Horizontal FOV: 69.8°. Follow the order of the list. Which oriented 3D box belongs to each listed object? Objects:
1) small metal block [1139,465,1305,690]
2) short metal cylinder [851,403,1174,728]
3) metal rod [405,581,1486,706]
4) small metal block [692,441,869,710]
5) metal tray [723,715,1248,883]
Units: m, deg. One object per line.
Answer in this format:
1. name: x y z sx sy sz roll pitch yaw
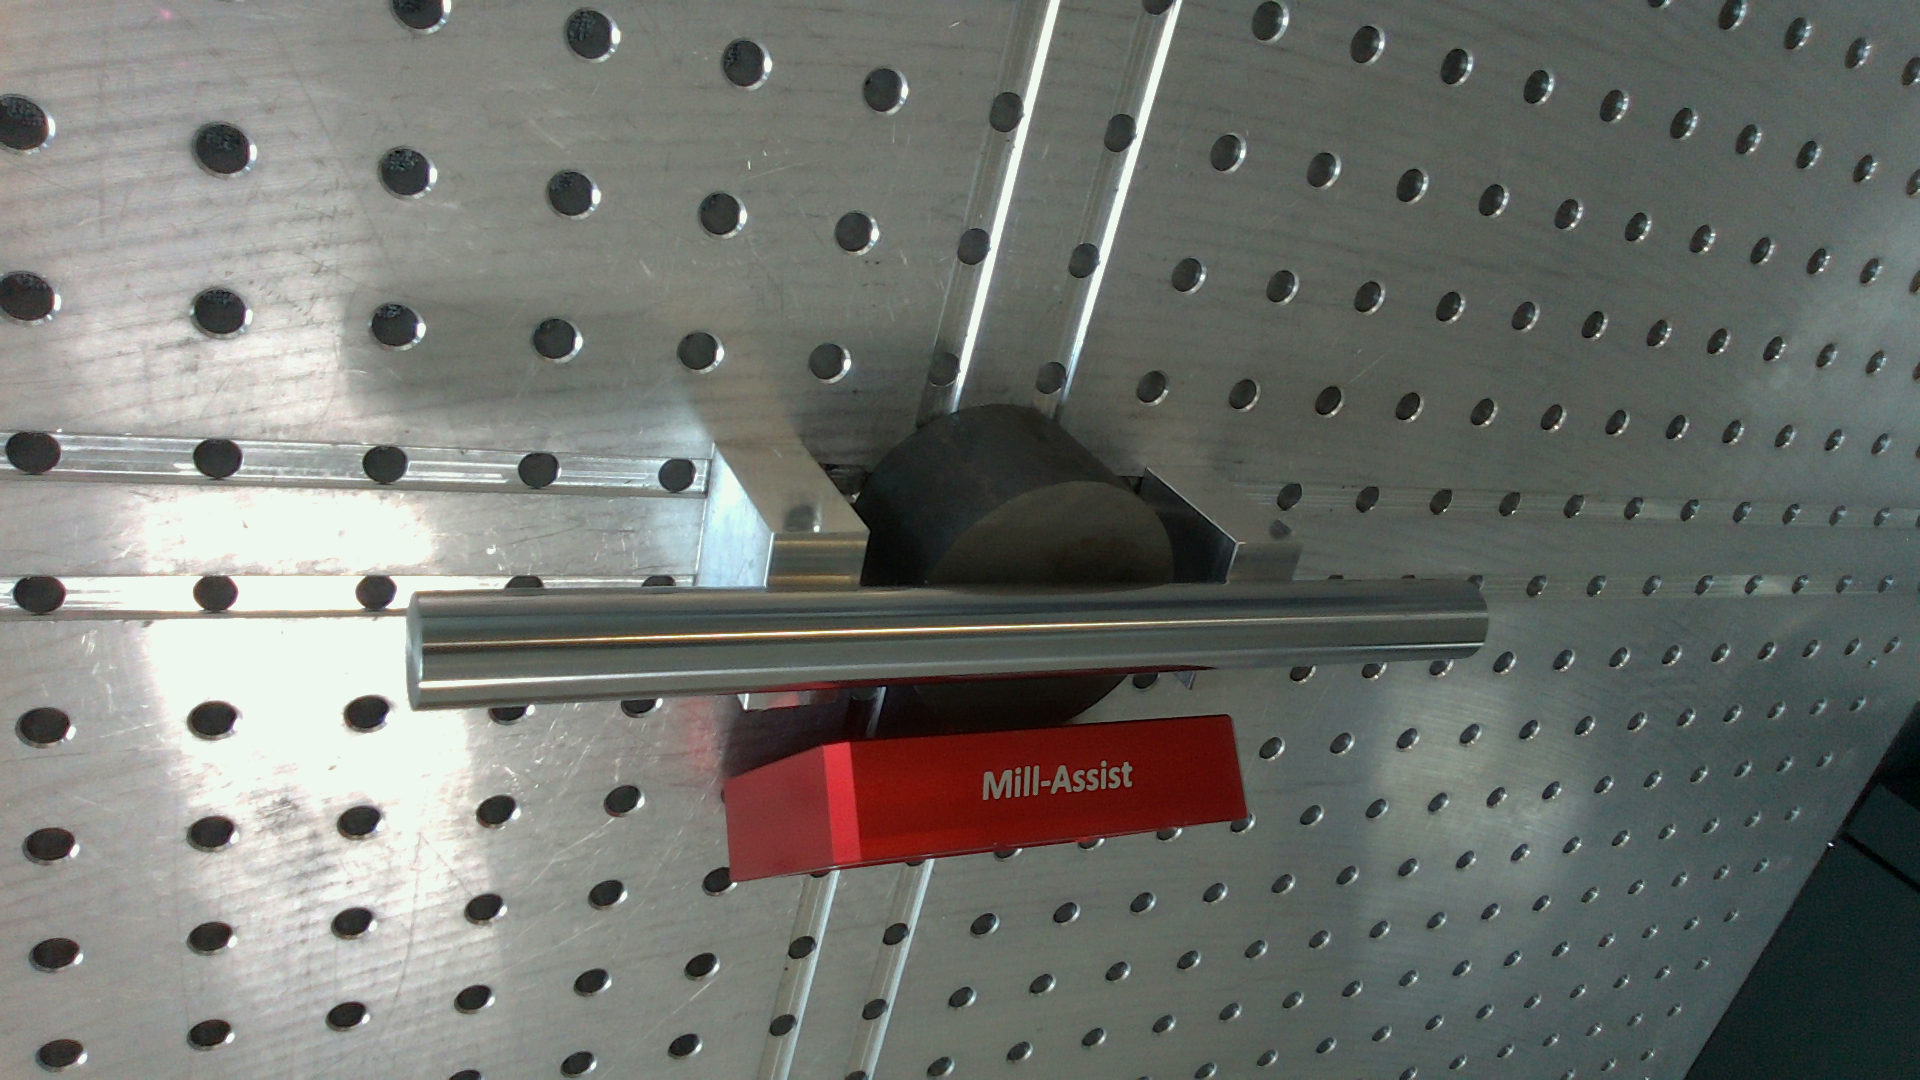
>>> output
1. small metal block: 0.073 0.010 0.422 0.025 0.050 0.050 -1 119 -28
2. short metal cylinder: 0.013 0.008 0.388 0.080 0.050 0.080 -14 124 -21
3. metal rod: 0.020 0.023 0.352 0.301 0.025 0.025 1 118 -28
4. small metal block: -0.049 0.008 0.355 0.025 0.050 0.050 -1 119 -28
5. metal tray: 0.006 0.076 0.403 0.130 0.090 0.030 0 75 -28
